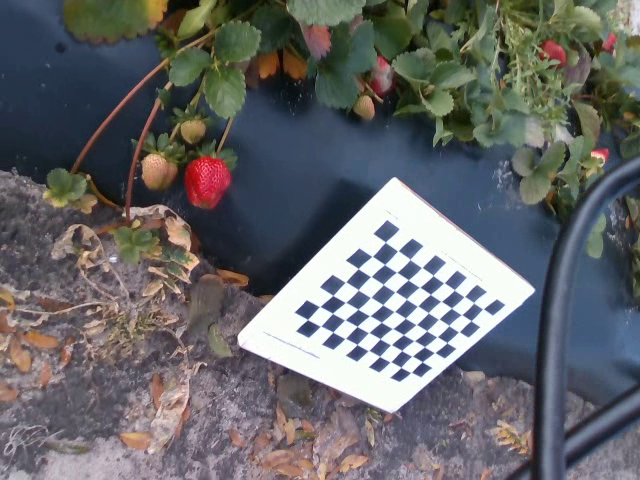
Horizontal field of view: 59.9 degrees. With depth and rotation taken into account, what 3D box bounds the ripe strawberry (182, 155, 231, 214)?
[{"bbox_3d":[-0.123,-0.060,0.587,0.066,0.075,0.053,13,30,-25],"label":"ripe strawberry"}]
